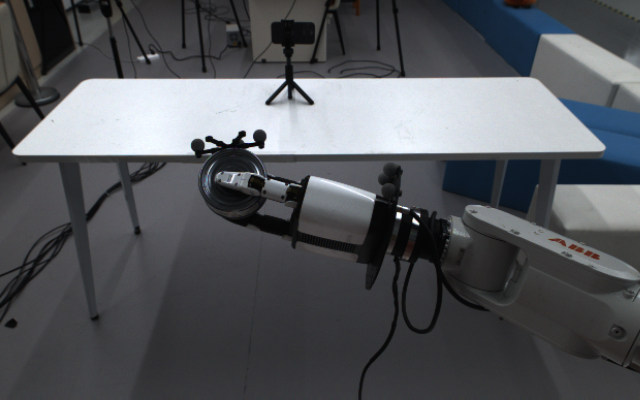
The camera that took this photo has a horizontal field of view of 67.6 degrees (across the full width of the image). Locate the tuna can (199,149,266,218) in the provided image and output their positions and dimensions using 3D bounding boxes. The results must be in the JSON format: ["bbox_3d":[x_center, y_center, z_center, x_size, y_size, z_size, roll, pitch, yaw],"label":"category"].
[{"bbox_3d":[-0.103,-0.016,0.601,0.085,0.034,0.085,0,72,-1],"label":"tuna can"}]
